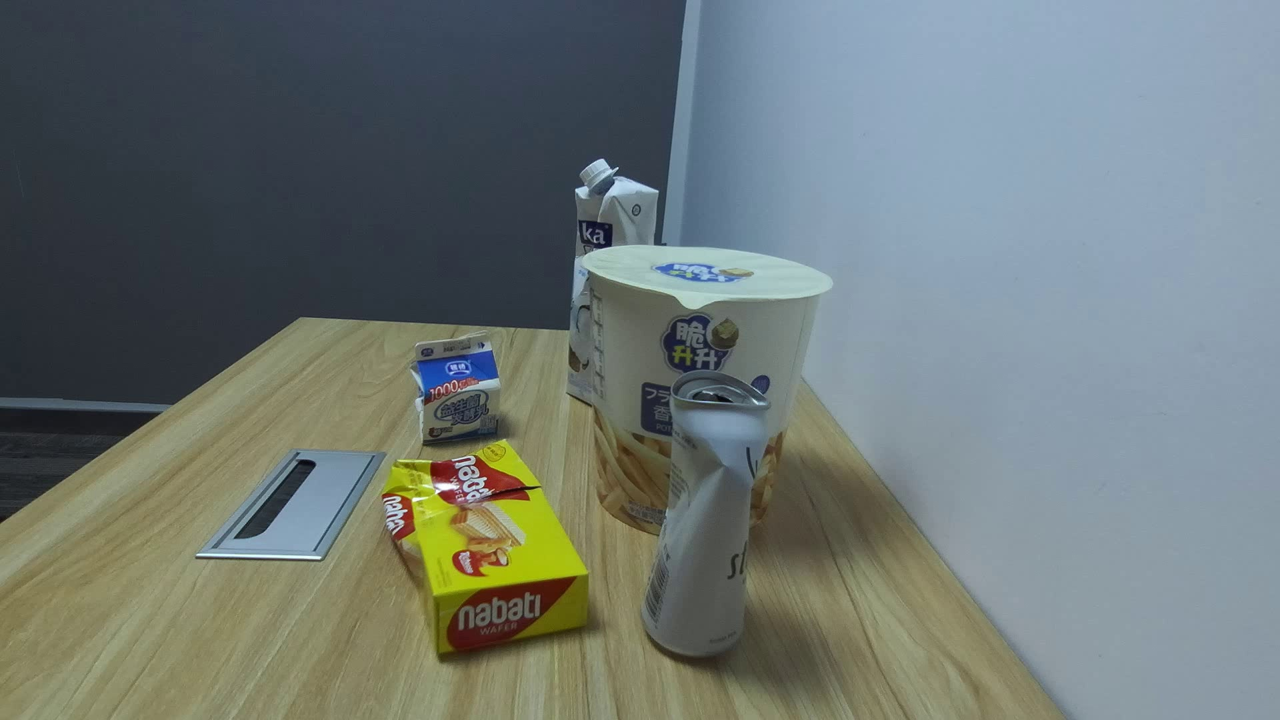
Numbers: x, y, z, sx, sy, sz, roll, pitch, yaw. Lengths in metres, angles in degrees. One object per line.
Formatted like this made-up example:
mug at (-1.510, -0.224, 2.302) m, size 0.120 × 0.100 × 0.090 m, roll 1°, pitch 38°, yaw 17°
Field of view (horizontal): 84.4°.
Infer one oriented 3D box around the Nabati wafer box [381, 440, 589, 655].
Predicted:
Nabati wafer box at (-0.118, 0.117, 0.496) m, size 0.107 × 0.042 × 0.203 m, roll -3°, pitch 19°, yaw -25°

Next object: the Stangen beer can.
Stangen beer can at (0.039, 0.092, 0.412) m, size 0.076 × 0.162 × 0.066 m, roll 19°, pitch 25°, yaw 34°

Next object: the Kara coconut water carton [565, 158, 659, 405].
Kara coconut water carton at (-0.032, -0.079, 0.740) m, size 0.079 × 0.255 × 0.083 m, roll -8°, pitch 23°, yaw -28°

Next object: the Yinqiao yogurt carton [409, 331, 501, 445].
Yinqiao yogurt carton at (-0.179, 0.020, 0.675) m, size 0.075 × 0.097 × 0.080 m, roll -8°, pitch 28°, yaw -28°

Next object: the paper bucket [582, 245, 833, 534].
paper bucket at (0.044, 0.020, 0.567) m, size 0.198 × 0.194 × 0.198 m, roll 3°, pitch 19°, yaw -1°
